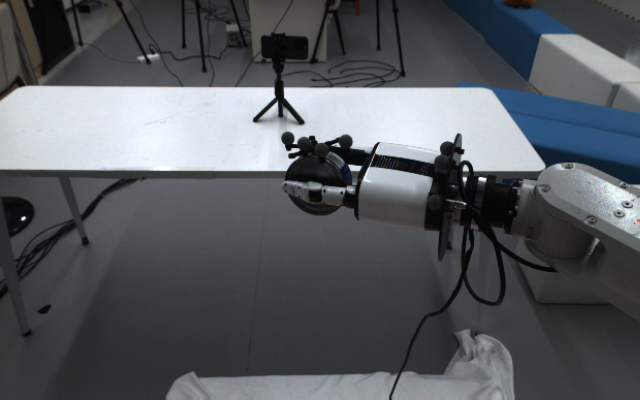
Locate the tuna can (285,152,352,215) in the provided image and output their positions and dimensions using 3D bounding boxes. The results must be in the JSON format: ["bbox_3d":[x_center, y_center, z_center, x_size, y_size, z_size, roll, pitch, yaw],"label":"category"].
[{"bbox_3d":[0.000,-0.024,0.646,0.085,0.085,0.034,14,29,16],"label":"tuna can"}]
